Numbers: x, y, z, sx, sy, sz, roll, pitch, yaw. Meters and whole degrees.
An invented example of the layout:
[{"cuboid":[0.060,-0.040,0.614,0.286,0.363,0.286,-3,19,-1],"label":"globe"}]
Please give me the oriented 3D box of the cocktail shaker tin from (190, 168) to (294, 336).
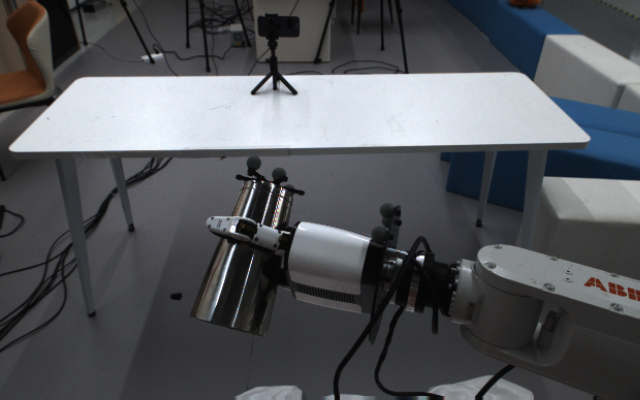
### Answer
[{"cuboid":[-0.083,0.068,0.576,0.093,0.093,0.170,10,71,12],"label":"cocktail shaker tin"}]
